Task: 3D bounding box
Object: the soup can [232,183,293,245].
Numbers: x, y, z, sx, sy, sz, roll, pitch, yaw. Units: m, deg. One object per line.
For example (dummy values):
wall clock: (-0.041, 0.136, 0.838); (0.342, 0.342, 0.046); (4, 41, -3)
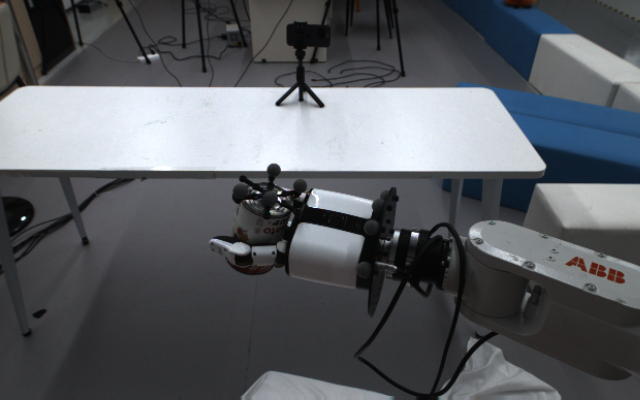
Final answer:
soup can: (-0.076, 0.037, 0.612); (0.067, 0.101, 0.067); (14, 35, -10)
